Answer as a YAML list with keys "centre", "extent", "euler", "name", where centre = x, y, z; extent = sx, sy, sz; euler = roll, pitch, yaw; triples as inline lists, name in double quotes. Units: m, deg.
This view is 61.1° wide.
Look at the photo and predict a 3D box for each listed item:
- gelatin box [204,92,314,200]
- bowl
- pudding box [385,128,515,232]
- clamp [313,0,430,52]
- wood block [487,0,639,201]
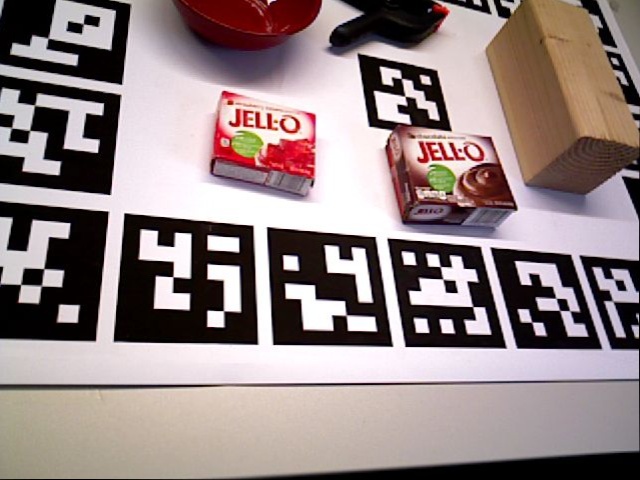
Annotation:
- centre: [-0.051, -0.081, 0.468]
  extent: [0.088, 0.031, 0.072]
  euler: [12, 62, -16]
  name: "gelatin box"
- centre: [-0.089, -0.237, 0.528]
  extent: [0.160, 0.056, 0.160]
  euler: [9, 64, -19]
  name: "bowl"
- centre: [0.123, -0.056, 0.524]
  extent: [0.112, 0.039, 0.089]
  euler: [3, 67, -18]
  name: "pudding box"
- centre: [0.052, -0.257, 0.610]
  extent: [0.162, 0.037, 0.121]
  euler: [-5, 66, -27]
  name: "clamp"
- centre: [0.268, -0.159, 0.605]
  extent: [0.089, 0.093, 0.204]
  euler: [7, 62, -20]
  name: "wood block"
